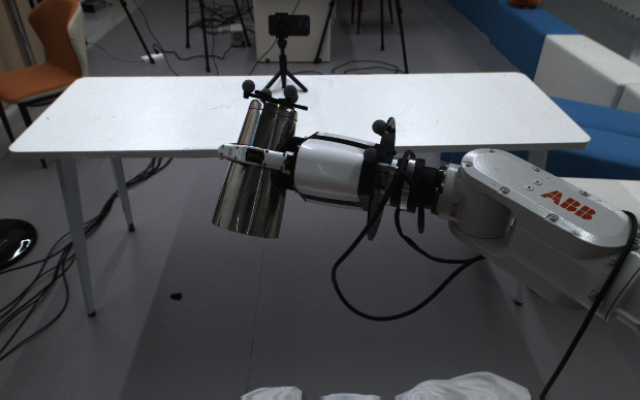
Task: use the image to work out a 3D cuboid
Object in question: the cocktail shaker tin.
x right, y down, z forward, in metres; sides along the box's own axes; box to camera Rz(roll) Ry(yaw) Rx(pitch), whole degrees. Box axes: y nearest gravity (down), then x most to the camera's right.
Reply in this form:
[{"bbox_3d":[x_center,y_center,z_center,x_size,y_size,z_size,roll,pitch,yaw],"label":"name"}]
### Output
[{"bbox_3d":[-0.082,-0.042,0.651,0.093,0.170,0.093,14,2,0],"label":"cocktail shaker tin"}]
